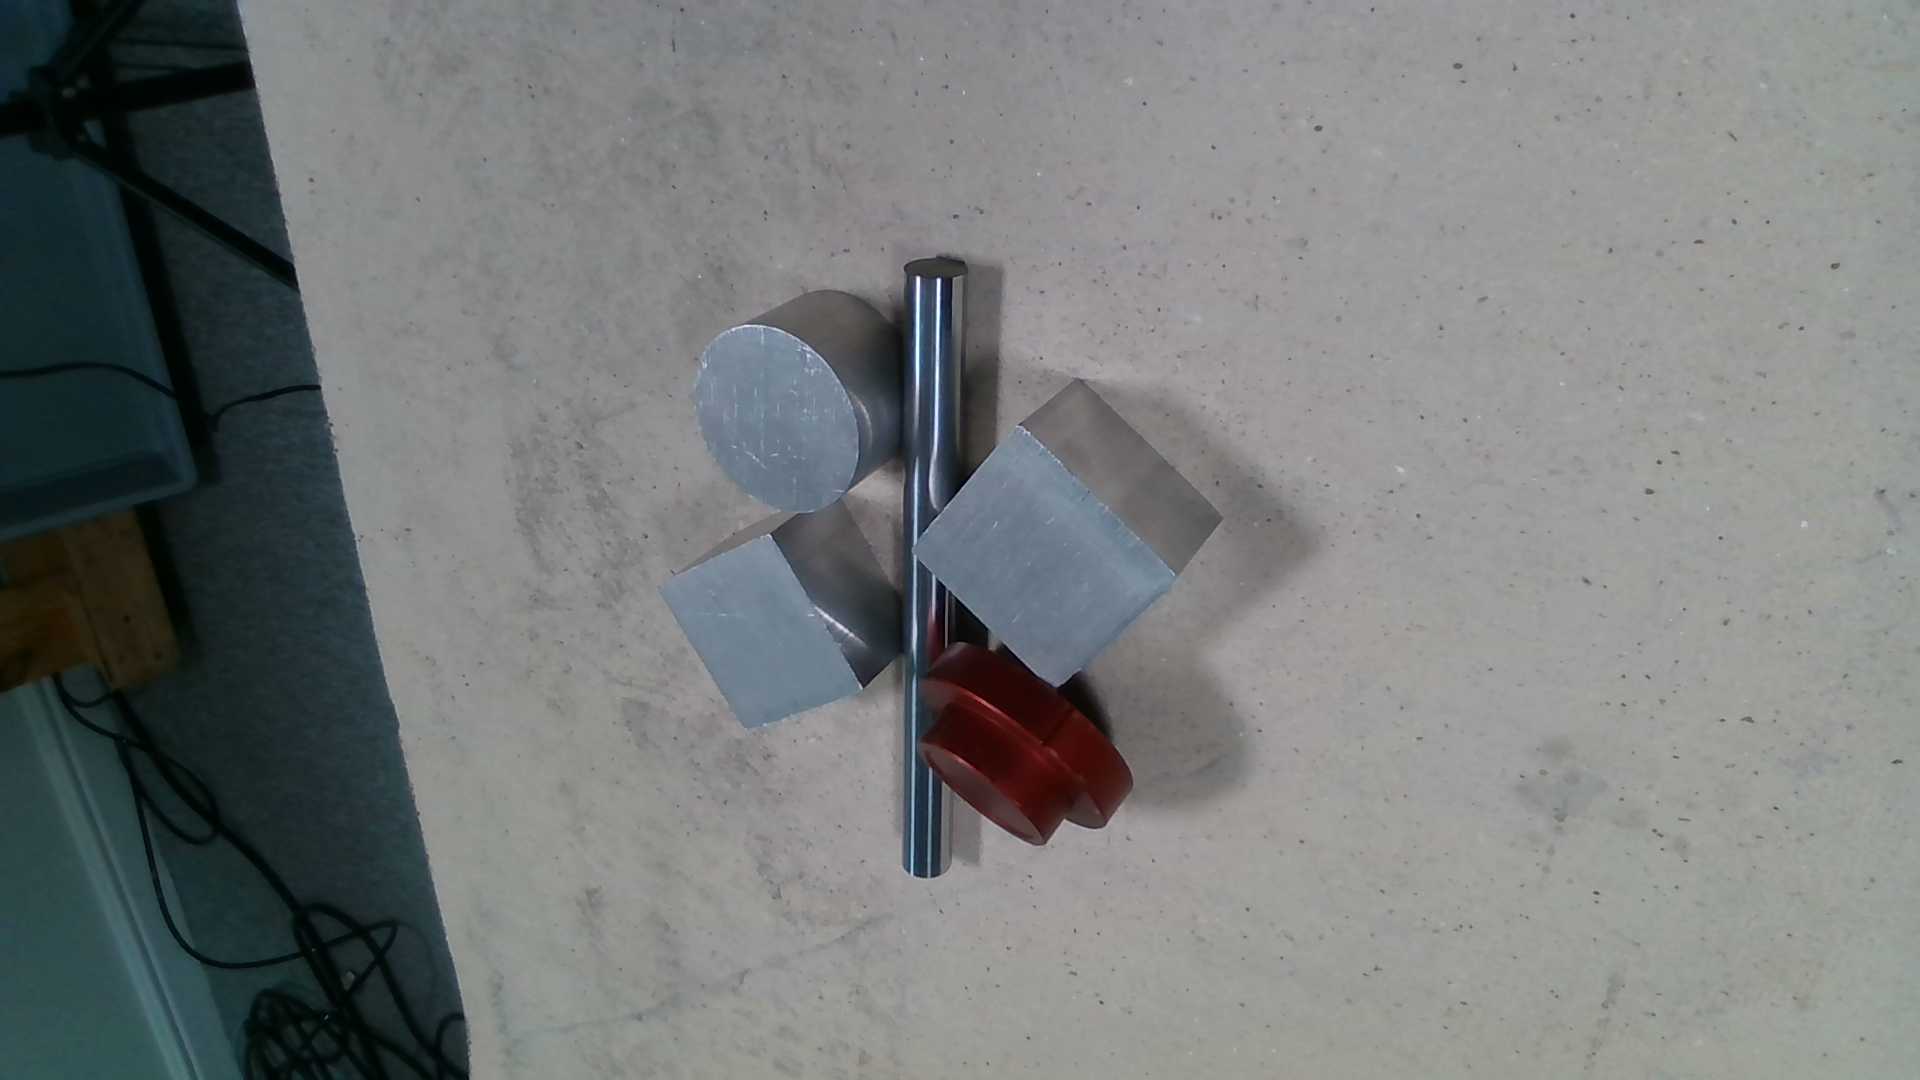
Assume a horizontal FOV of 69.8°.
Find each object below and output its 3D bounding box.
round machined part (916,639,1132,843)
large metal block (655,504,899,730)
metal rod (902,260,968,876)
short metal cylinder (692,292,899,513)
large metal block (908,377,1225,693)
[{"bbox_3d":[0.020,0.090,0.576,0.098,0.042,0.098,35,159,16],"label":"round machined part"},{"bbox_3d":[-0.079,0.032,0.630,0.080,0.050,0.080,-22,102,38],"label":"large metal block"},{"bbox_3d":[-0.013,0.026,0.603,0.025,0.025,0.301,16,123,24],"label":"metal rod"},{"bbox_3d":[-0.063,-0.058,0.571,0.080,0.050,0.080,14,122,25],"label":"short metal cylinder"},{"bbox_3d":[0.041,-0.002,0.535,0.080,0.050,0.080,45,129,3],"label":"large metal block"}]
